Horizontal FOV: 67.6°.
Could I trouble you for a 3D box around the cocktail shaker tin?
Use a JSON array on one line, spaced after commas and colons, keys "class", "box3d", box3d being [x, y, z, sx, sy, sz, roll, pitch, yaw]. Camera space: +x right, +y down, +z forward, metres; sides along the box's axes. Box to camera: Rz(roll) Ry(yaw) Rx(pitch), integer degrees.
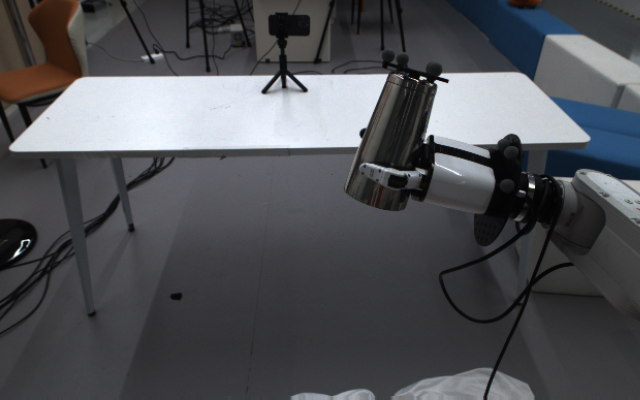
[{"class": "cocktail shaker tin", "box3d": [0.100, -0.082, 0.659, 0.093, 0.170, 0.093, 14, 20, -5]}]
